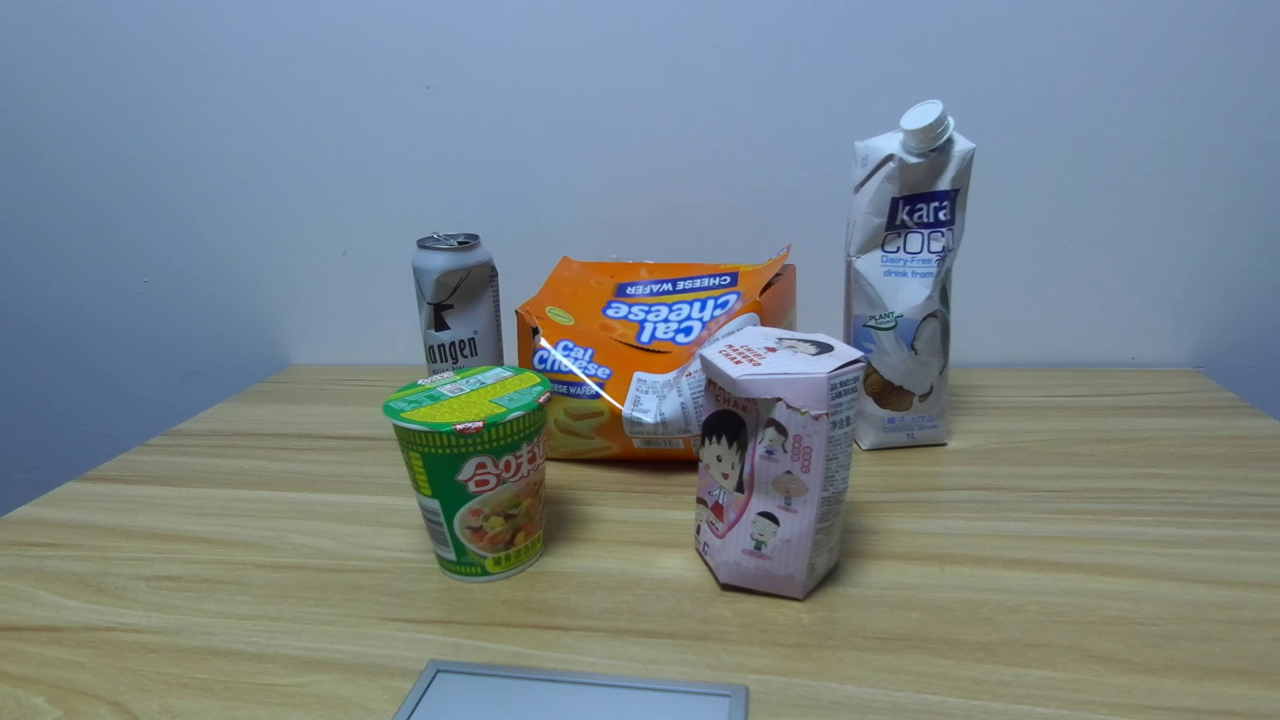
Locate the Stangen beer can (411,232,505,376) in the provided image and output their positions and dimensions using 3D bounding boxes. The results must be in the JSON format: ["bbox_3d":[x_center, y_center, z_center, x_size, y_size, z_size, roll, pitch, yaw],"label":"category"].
[{"bbox_3d":[-0.160,-0.027,0.632,0.070,0.173,0.070,1,20,13],"label":"Stangen beer can"}]

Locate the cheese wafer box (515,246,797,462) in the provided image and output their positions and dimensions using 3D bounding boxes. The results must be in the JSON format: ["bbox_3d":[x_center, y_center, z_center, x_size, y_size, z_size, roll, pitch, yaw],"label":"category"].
[{"bbox_3d":[0.019,-0.006,0.582,0.218,0.145,0.191,1,19,11],"label":"cheese wafer box"}]

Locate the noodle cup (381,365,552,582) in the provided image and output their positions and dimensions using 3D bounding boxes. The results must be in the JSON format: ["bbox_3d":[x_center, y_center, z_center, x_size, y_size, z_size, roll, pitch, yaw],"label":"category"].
[{"bbox_3d":[-0.099,0.071,0.434,0.097,0.110,0.097,-2,19,1],"label":"noodle cup"}]

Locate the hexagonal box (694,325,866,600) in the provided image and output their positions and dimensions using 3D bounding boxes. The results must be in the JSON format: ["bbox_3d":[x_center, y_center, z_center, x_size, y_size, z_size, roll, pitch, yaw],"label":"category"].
[{"bbox_3d":[0.078,0.056,0.407,0.090,0.134,0.091,7,21,19],"label":"hexagonal box"}]

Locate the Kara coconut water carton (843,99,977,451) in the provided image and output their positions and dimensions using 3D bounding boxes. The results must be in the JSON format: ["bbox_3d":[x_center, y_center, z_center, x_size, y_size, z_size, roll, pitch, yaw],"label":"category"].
[{"bbox_3d":[0.198,-0.060,0.535,0.083,0.255,0.078,1,21,12],"label":"Kara coconut water carton"}]
